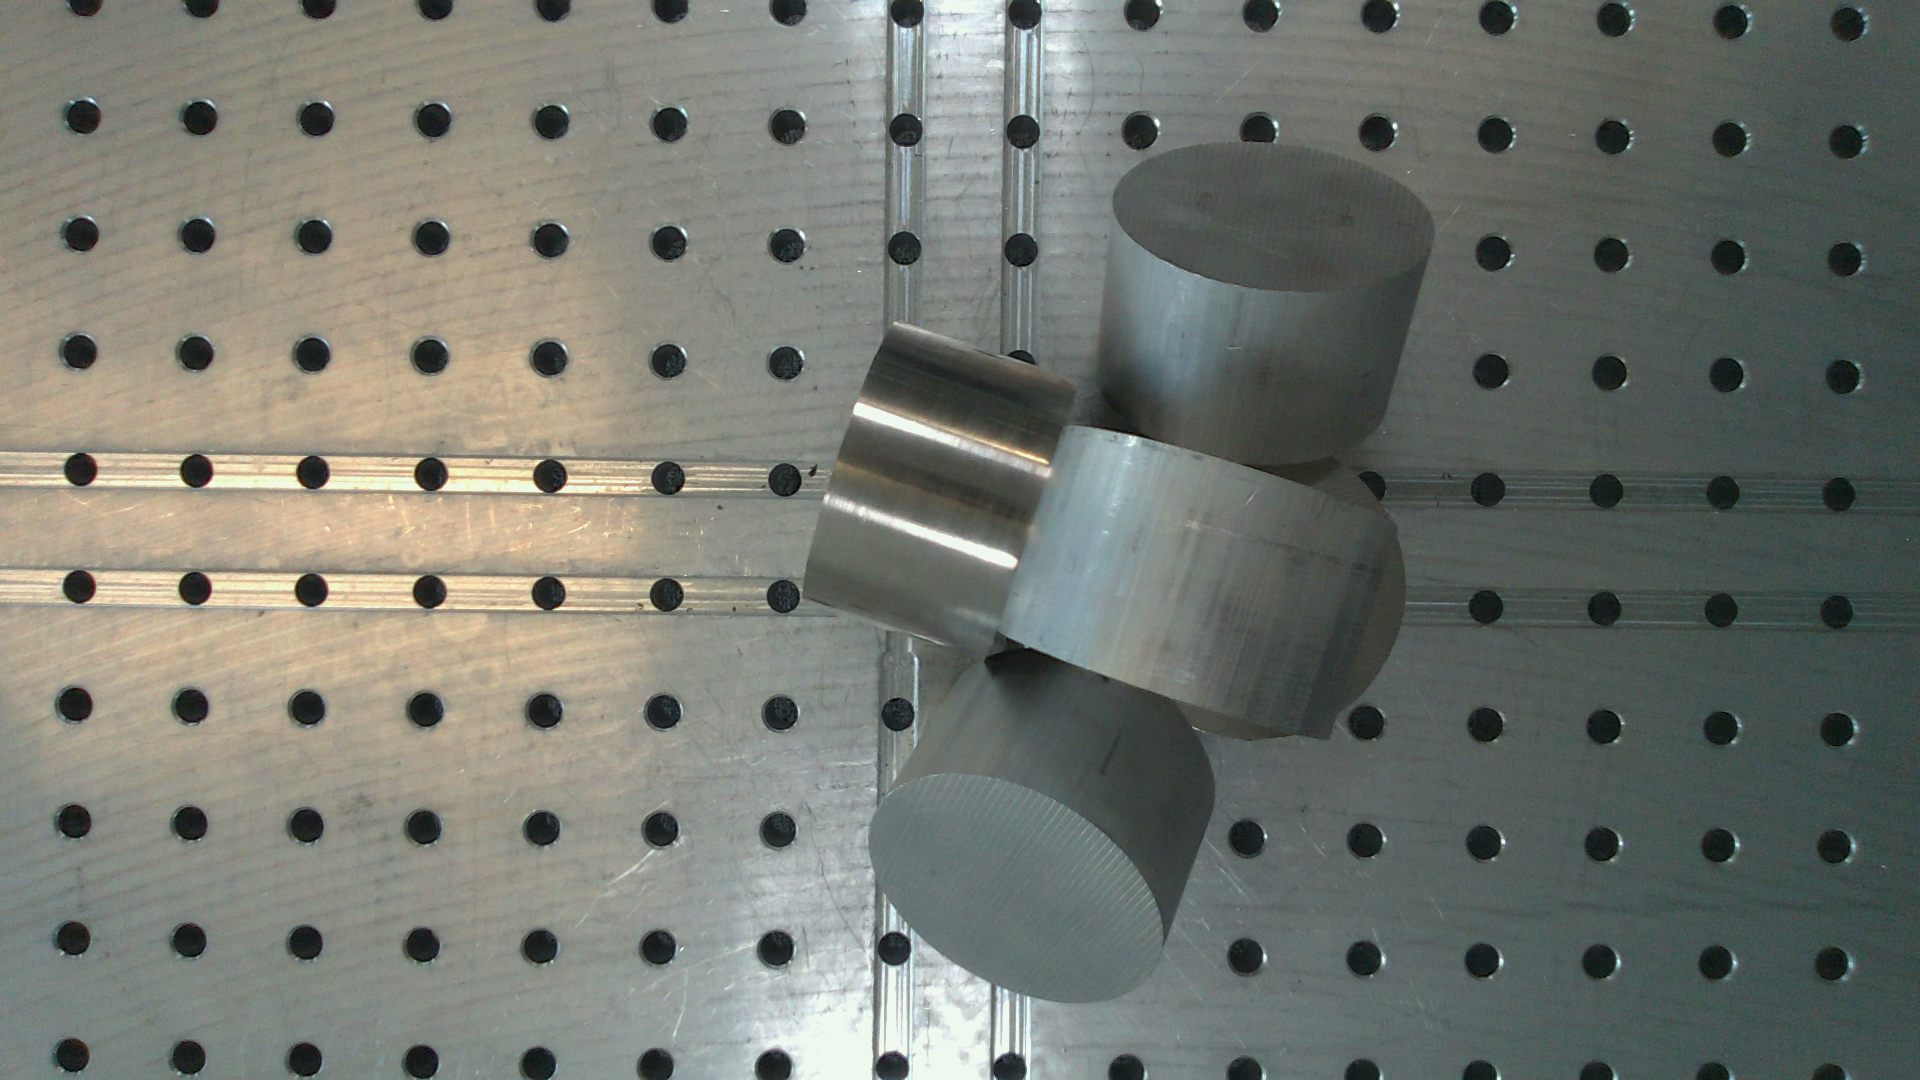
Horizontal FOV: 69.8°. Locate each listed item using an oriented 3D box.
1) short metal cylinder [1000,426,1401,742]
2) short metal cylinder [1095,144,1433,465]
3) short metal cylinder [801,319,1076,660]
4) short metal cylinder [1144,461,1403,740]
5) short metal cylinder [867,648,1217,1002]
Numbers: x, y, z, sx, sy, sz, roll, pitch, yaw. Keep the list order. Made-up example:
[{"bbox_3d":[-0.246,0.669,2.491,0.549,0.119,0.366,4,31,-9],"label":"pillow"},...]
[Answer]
[{"bbox_3d":[0.055,0.010,0.320,0.080,0.080,0.050,17,90,0],"label":"short metal cylinder"},{"bbox_3d":[0.078,-0.064,0.363,0.080,0.080,0.050,2,130,0],"label":"short metal cylinder"},{"bbox_3d":[-0.006,-0.013,0.370,0.050,0.080,0.080,19,90,0],"label":"short metal cylinder"},{"bbox_3d":[0.076,0.013,0.385,0.080,0.050,0.080,0,89,0],"label":"short metal cylinder"},{"bbox_3d":[0.022,0.075,0.365,0.080,0.050,0.080,14,129,18],"label":"short metal cylinder"}]
